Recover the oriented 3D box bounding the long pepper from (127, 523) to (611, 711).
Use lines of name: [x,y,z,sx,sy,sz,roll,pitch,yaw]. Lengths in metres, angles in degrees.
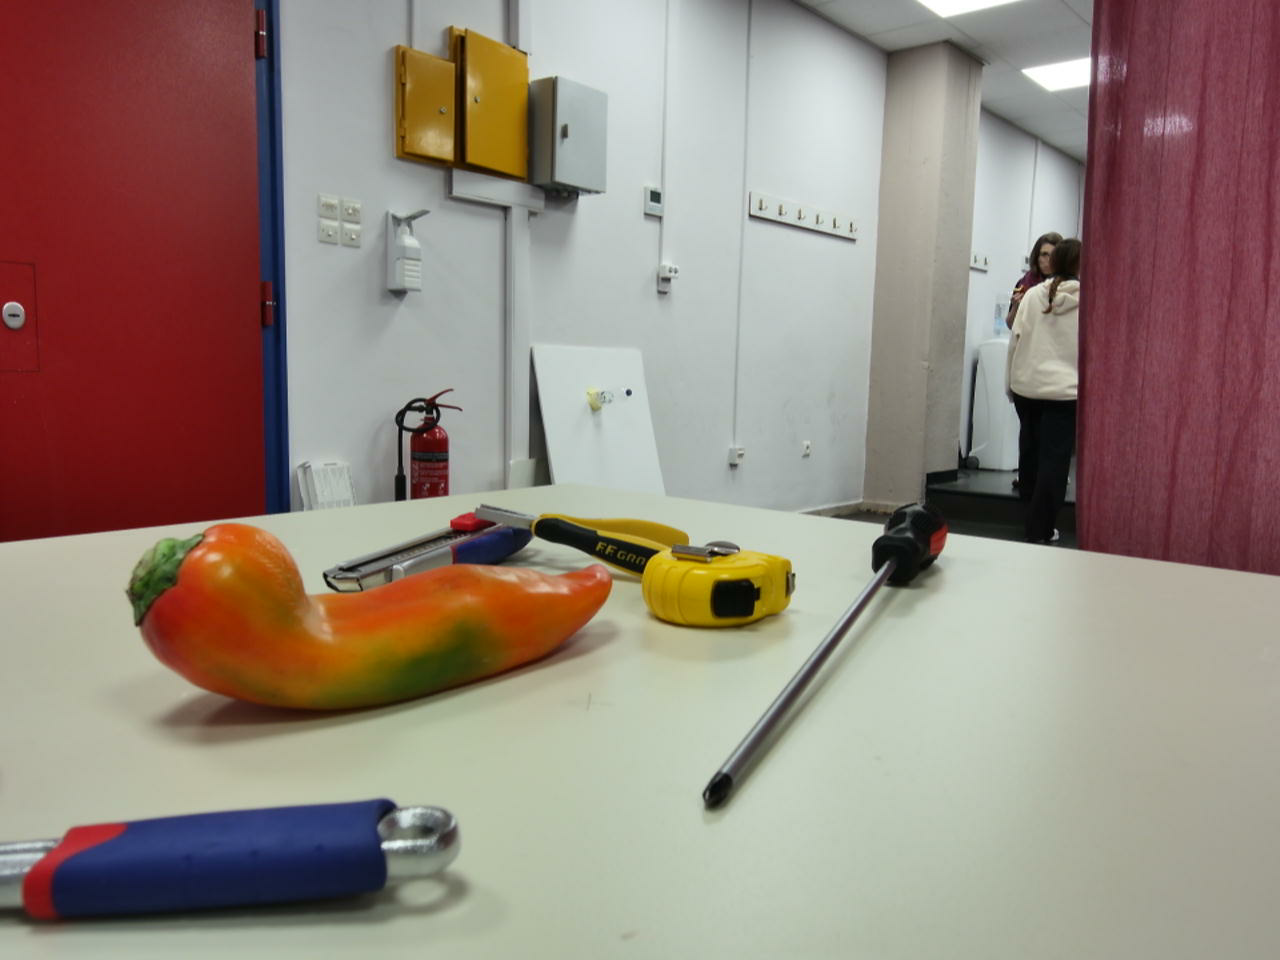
long pepper: [-0.083,0.042,0.374,0.066,0.065,0.199,4,5,44]
